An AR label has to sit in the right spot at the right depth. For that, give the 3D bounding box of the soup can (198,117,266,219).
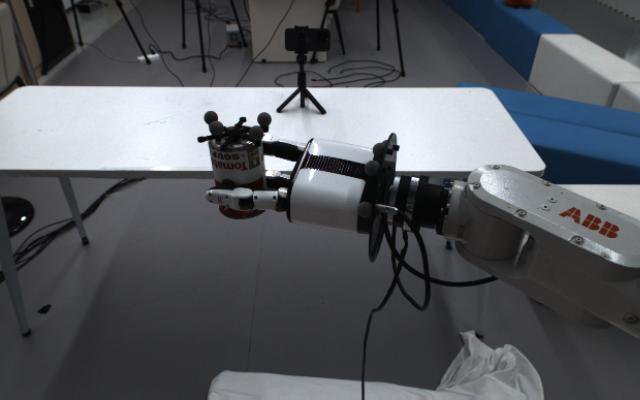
[{"bbox_3d":[-0.102,-0.036,0.623,0.067,0.101,0.067,-2,33,1],"label":"soup can"}]
